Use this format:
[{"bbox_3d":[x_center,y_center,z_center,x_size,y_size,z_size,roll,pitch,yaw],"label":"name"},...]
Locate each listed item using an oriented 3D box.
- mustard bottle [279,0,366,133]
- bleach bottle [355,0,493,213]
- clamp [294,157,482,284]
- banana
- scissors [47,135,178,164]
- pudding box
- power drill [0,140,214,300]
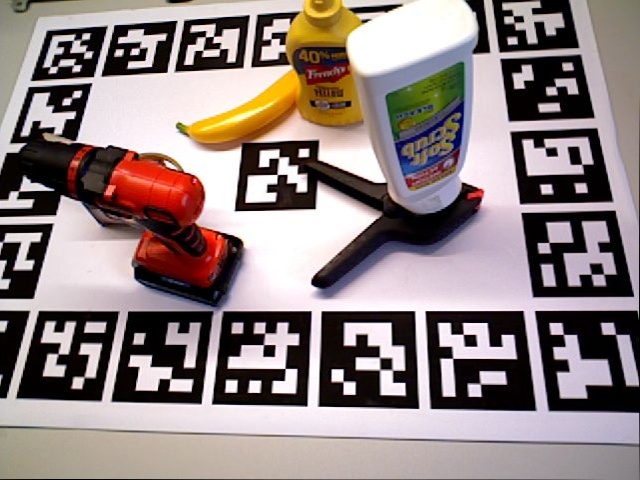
[{"bbox_3d":[0.004,-0.204,0.620,0.096,0.194,0.057,13,65,11],"label":"mustard bottle"},{"bbox_3d":[0.101,-0.101,0.506,0.103,0.253,0.067,-20,59,4],"label":"bleach bottle"},{"bbox_3d":[0.075,-0.039,0.598,0.202,0.037,0.164,-6,67,3],"label":"clamp"},{"bbox_3d":[-0.097,-0.186,0.699,0.195,0.039,0.074,-36,49,-9],"label":"banana"},{"bbox_3d":[-0.252,-0.094,0.582,0.203,0.016,0.087,24,75,13],"label":"scissors"},{"bbox_3d":[-0.237,-0.058,0.636,0.114,0.091,0.038,4,58,8],"label":"pudding box"},{"bbox_3d":[-0.190,-0.018,0.524,0.185,0.190,0.056,11,58,15],"label":"power drill"}]
